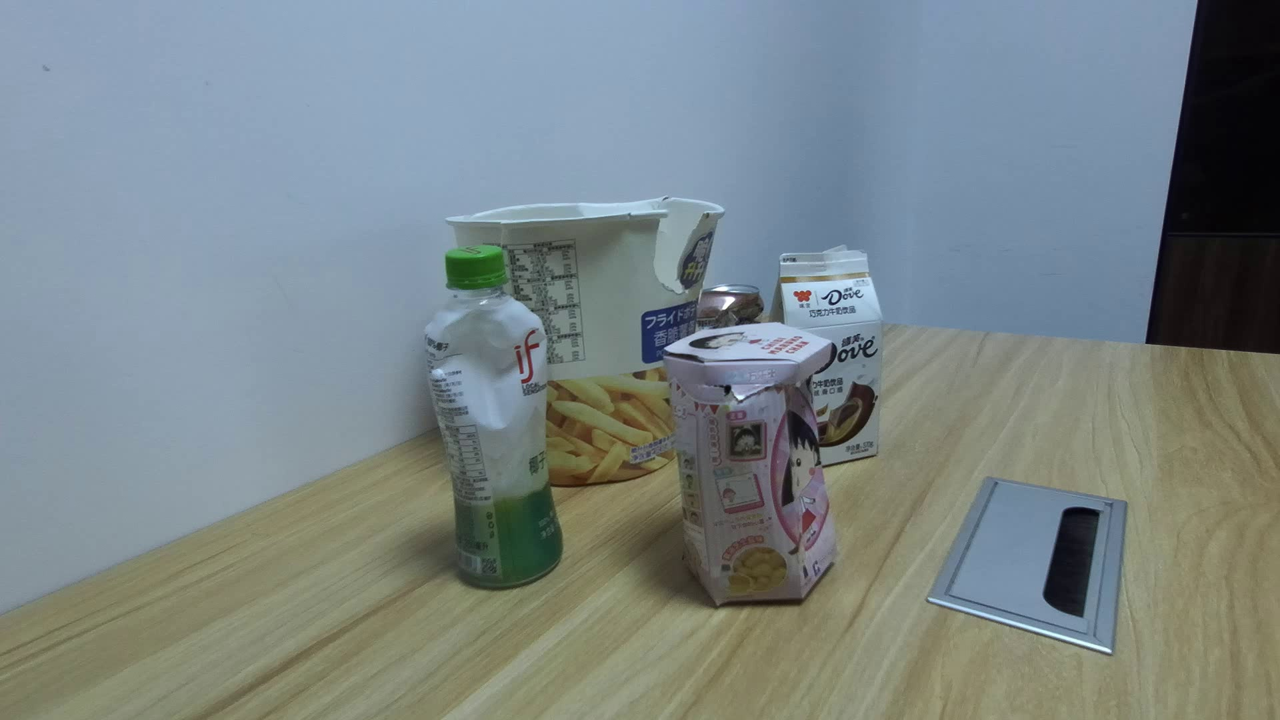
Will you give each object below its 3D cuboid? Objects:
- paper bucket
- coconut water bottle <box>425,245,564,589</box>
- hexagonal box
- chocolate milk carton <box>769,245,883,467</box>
[{"bbox_3d":[-0.040,-0.021,0.552,0.203,0.197,0.145,-5,18,-1],"label":"paper bucket"},{"bbox_3d":[-0.083,0.031,0.403,0.069,0.187,0.069,-2,15,1],"label":"coconut water bottle"},{"bbox_3d":[0.059,0.054,0.390,0.091,0.134,0.090,-8,14,-13],"label":"hexagonal box"},{"bbox_3d":[0.128,-0.005,0.532,0.084,0.155,0.073,-9,19,-18],"label":"chocolate milk carton"}]
